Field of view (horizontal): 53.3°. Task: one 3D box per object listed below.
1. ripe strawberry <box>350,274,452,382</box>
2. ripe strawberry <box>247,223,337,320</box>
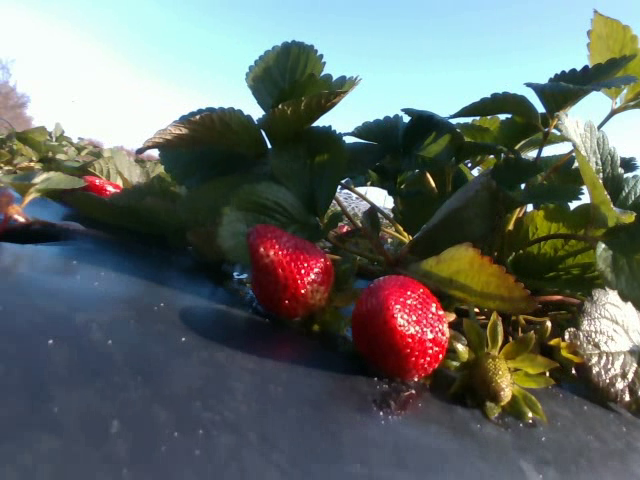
[{"bbox_3d":[0.030,0.028,0.226,0.043,0.039,0.053,38,-5,17],"label":"ripe strawberry"},{"bbox_3d":[-0.015,0.014,0.277,0.039,0.054,0.048,-37,20,27],"label":"ripe strawberry"}]
